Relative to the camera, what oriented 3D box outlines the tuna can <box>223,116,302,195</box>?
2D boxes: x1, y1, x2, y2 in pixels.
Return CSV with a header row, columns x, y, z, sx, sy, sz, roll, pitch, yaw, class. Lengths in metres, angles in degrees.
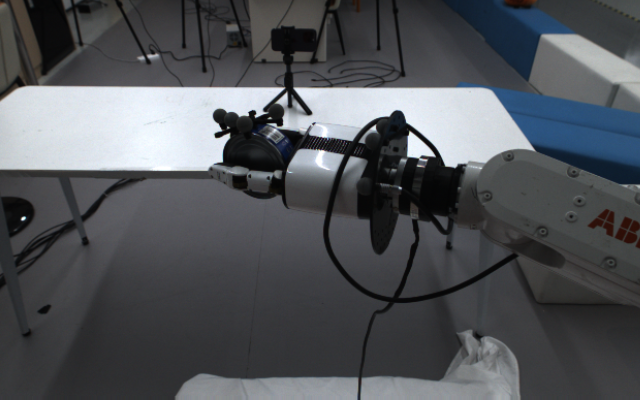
x,y,z,sx,sy,sz,roll,pitch,yaw,class
-0.068,-0.047,0.575,0.085,0.085,0.034,17,36,20,tuna can
